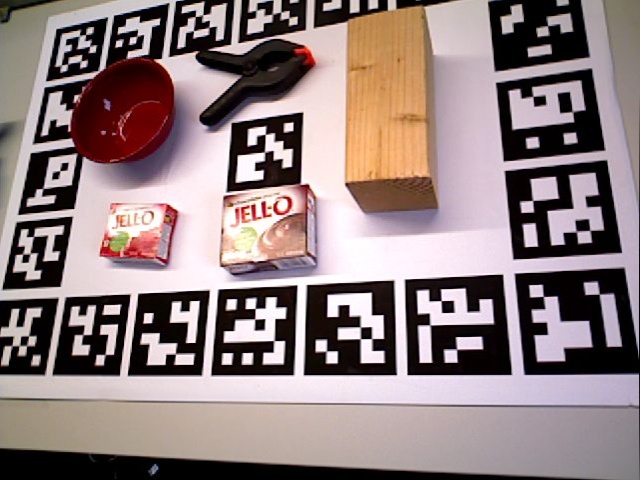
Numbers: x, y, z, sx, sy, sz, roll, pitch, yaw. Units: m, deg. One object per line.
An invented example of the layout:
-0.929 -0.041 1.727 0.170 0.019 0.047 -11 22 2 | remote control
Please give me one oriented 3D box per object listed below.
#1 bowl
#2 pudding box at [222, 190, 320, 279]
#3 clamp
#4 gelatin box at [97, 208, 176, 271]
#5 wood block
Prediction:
-0.255 -0.163 0.745 0.162 0.055 0.161 -5 74 16 | bowl
-0.056 -0.005 0.631 0.114 0.038 0.089 -6 75 19 | pudding box
-0.096 -0.211 0.720 0.166 0.037 0.121 -14 69 11 | clamp
-0.234 -0.002 0.692 0.090 0.030 0.073 4 76 19 | gelatin box
0.091 -0.135 0.595 0.090 0.091 0.205 -1 72 16 | wood block
